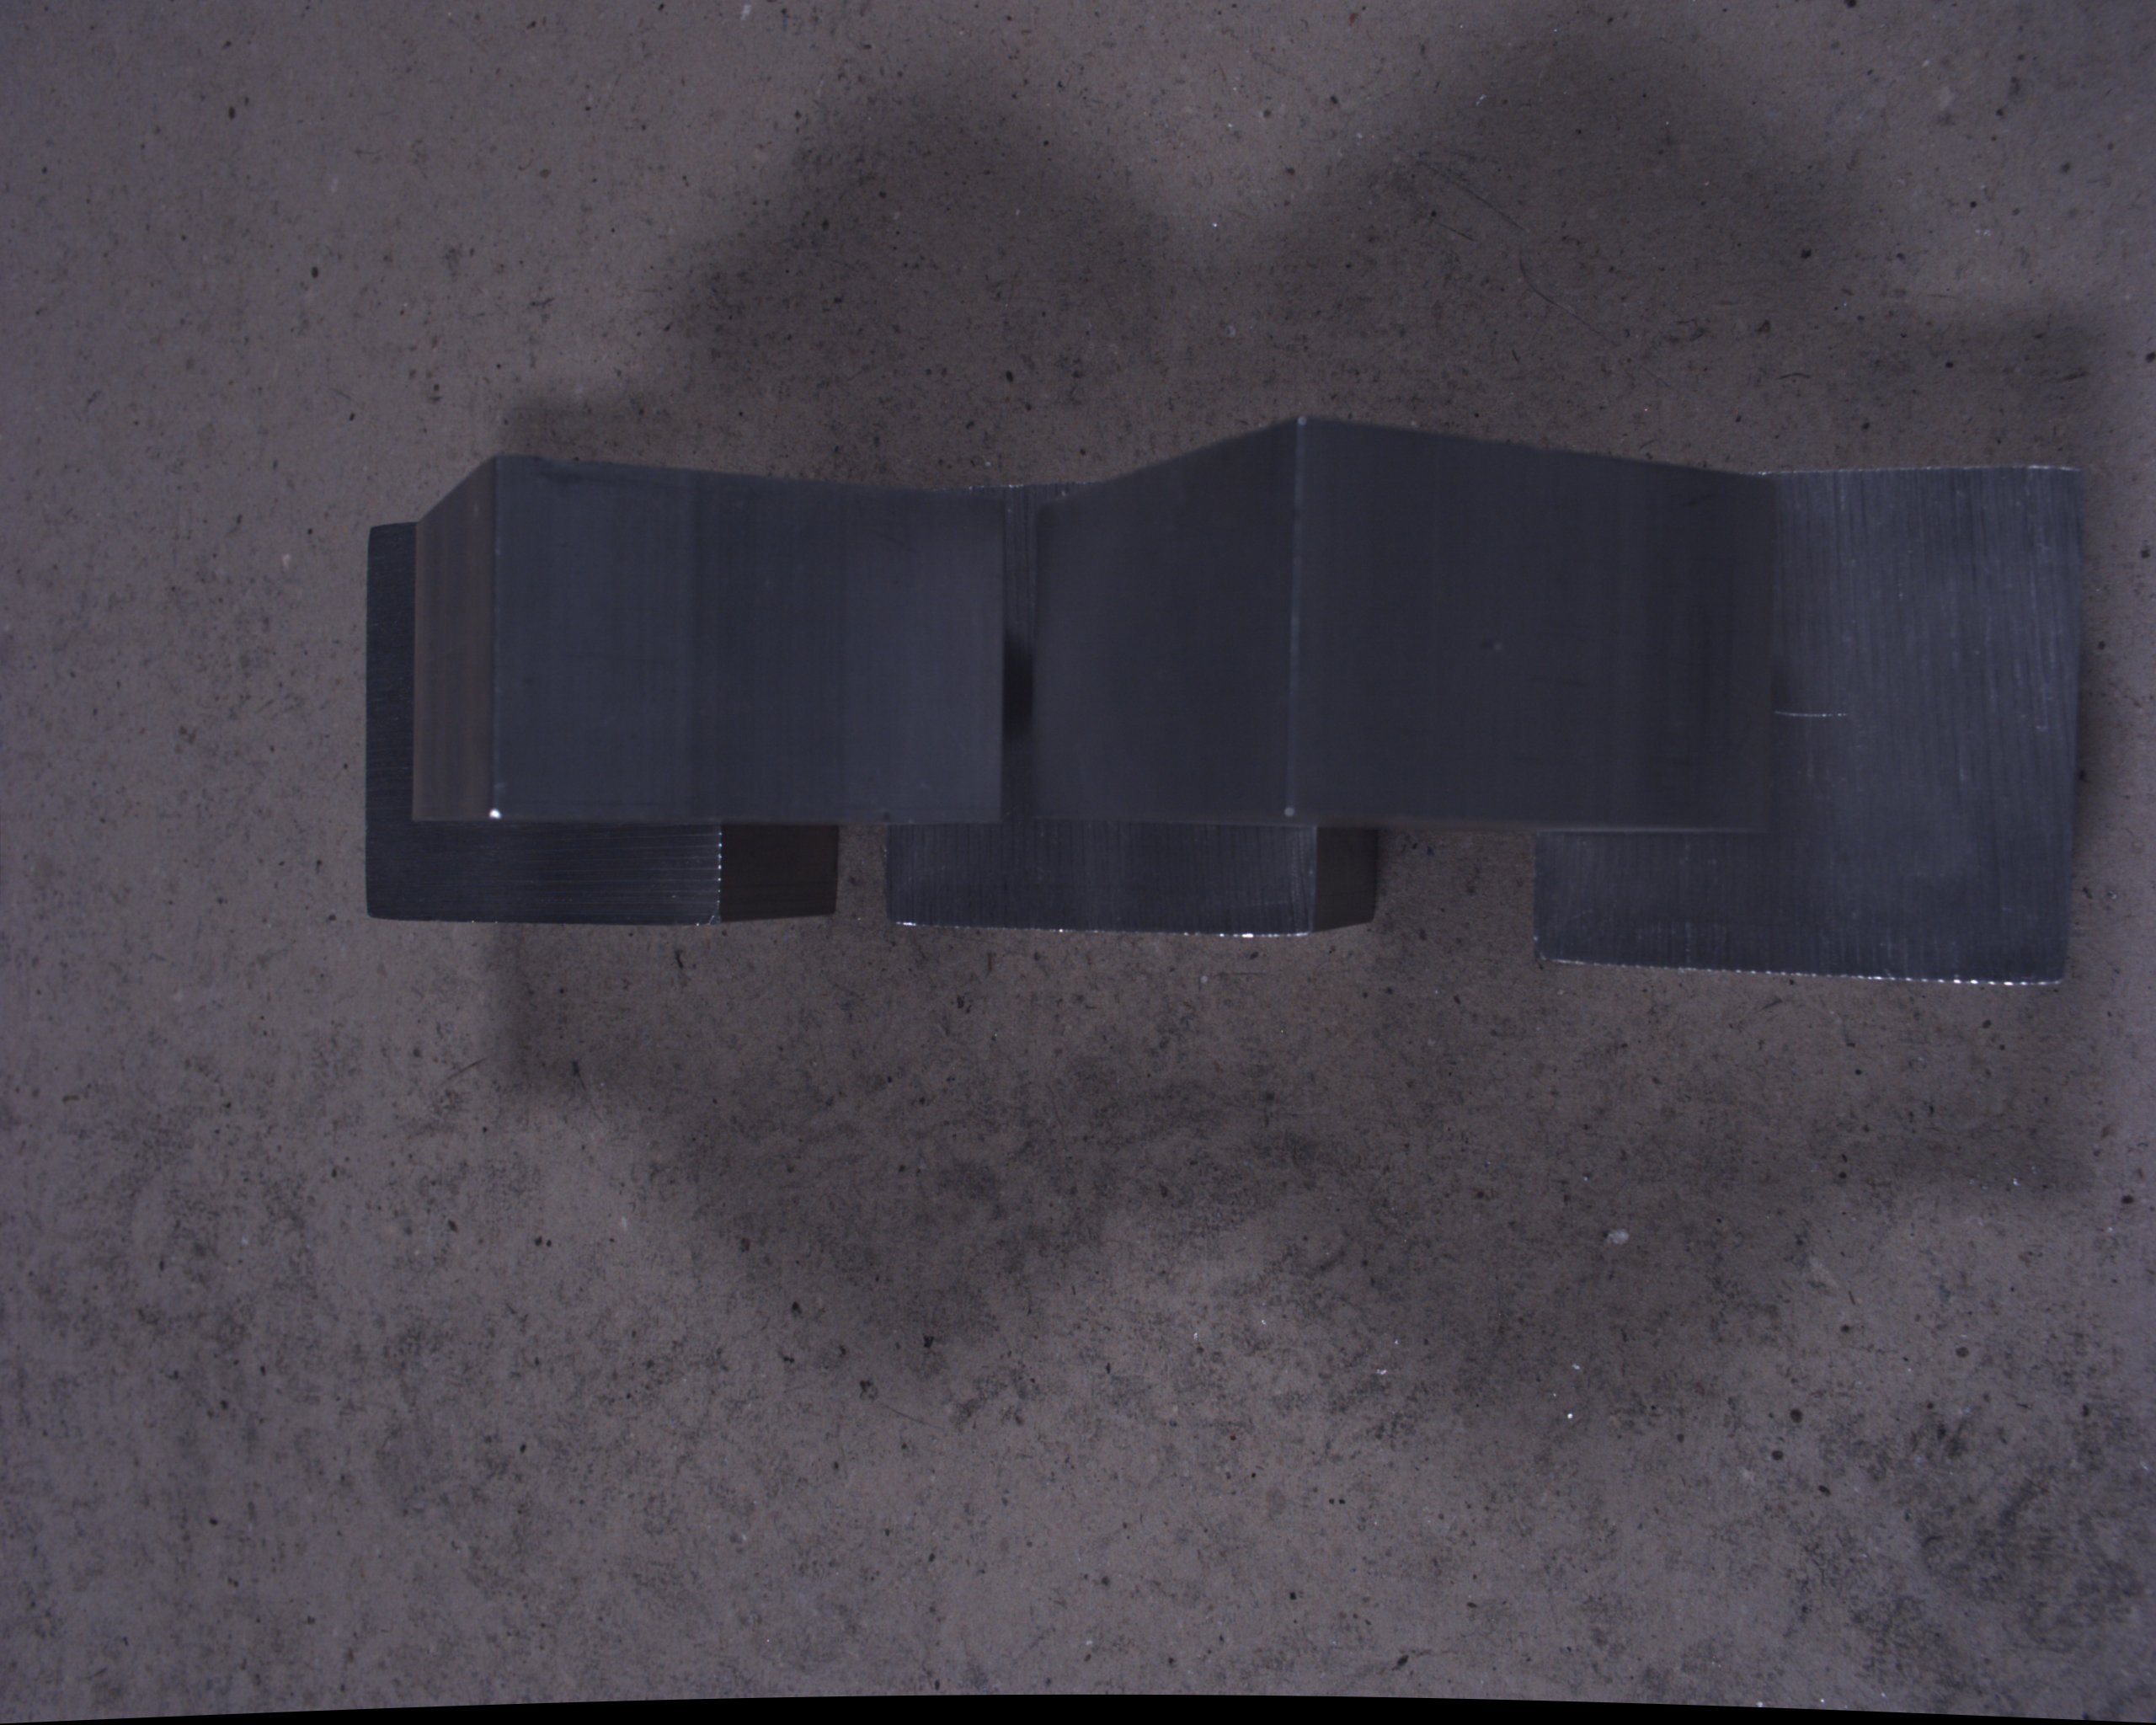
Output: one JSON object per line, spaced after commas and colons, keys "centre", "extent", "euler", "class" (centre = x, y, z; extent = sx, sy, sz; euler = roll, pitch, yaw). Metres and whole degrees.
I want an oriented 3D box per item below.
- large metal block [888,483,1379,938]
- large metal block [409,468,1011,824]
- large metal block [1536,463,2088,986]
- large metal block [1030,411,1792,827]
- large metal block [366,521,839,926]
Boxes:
{"centre": [0.012, -0.028, 0.392], "extent": [0.080, 0.050, 0.079], "euler": [1, 90, 19], "class": "large metal block"}
{"centre": [-0.065, -0.032, 0.349], "extent": [0.081, 0.080, 0.050], "euler": [-1, 91, -26], "class": "large metal block"}
{"centre": [0.123, -0.022, 0.354], "extent": [0.080, 0.050, 0.079], "euler": [2, 91, 19], "class": "large metal block"}
{"centre": [0.047, -0.031, 0.313], "extent": [0.080, 0.081, 0.050], "euler": [2, 90, 64], "class": "large metal block"}
{"centre": [-0.097, -0.028, 0.430], "extent": [0.080, 0.050, 0.079], "euler": [0, 90, 19], "class": "large metal block"}
